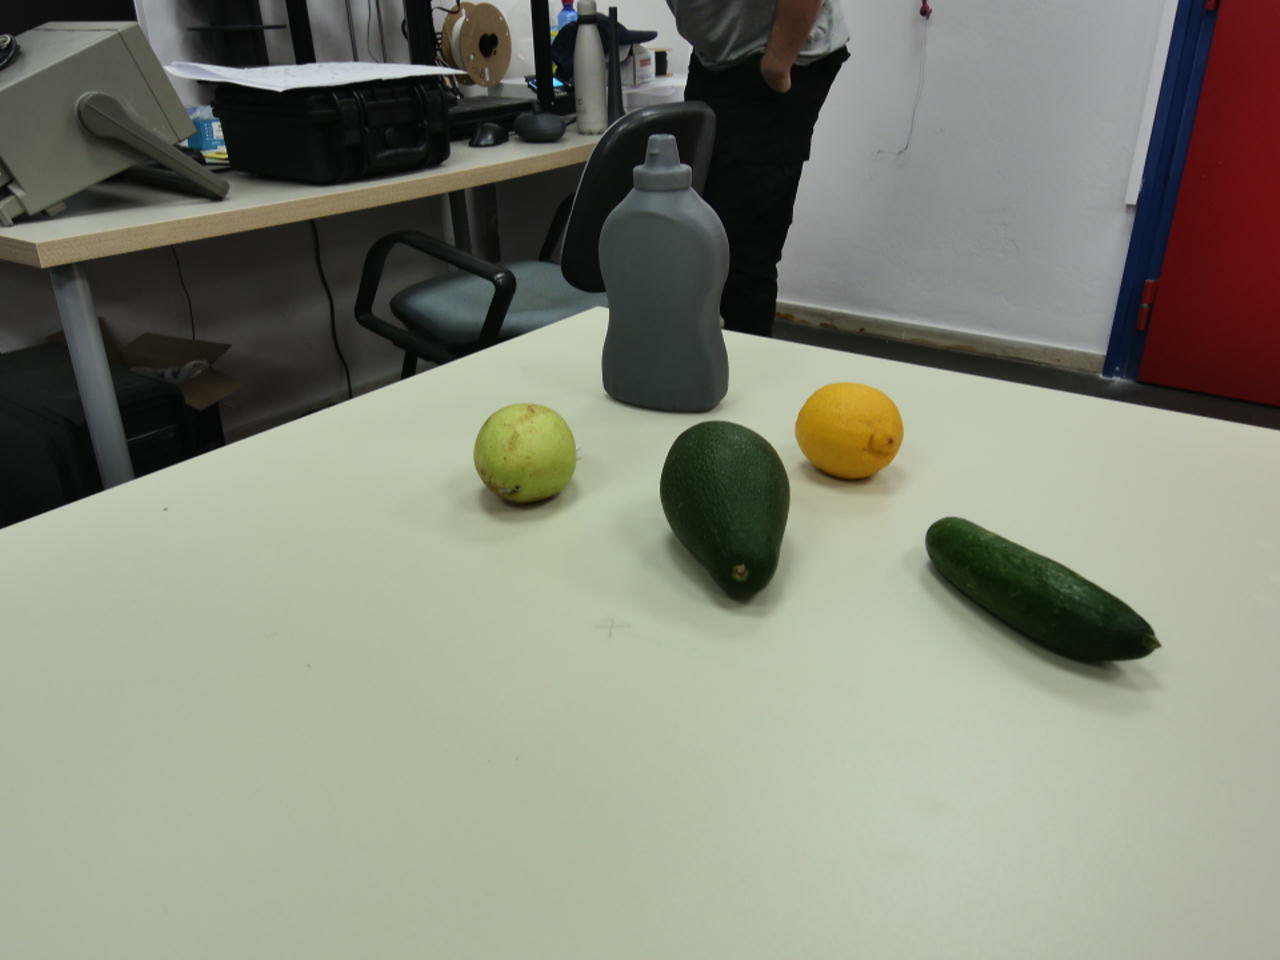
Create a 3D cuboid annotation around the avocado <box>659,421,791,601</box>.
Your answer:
[{"bbox_3d":[0.043,0.011,0.532,0.073,0.071,0.109,6,25,13],"label":"avocado"}]
